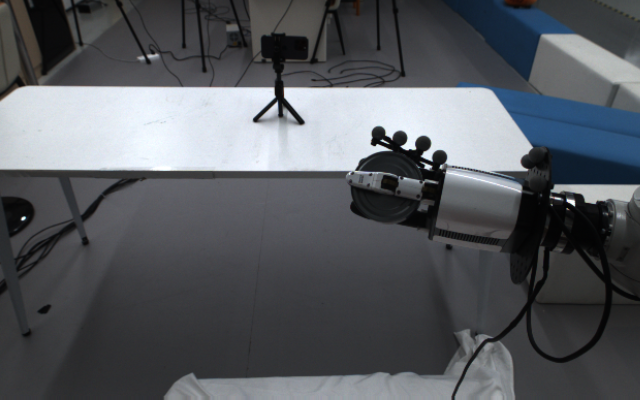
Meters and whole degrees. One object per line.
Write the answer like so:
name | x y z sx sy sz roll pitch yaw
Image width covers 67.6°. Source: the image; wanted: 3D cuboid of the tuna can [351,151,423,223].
tuna can | 0.083 -0.017 0.582 0.085 0.085 0.034 14 -7 16
